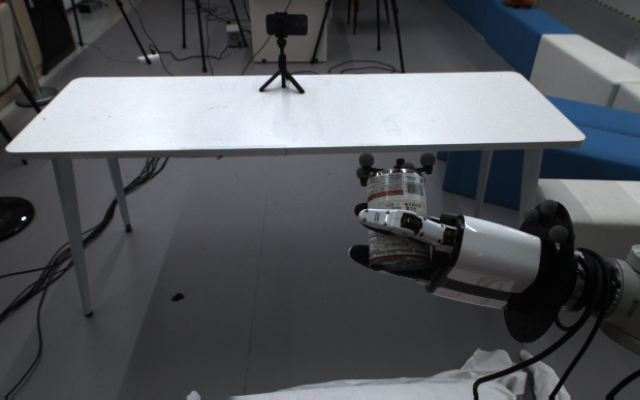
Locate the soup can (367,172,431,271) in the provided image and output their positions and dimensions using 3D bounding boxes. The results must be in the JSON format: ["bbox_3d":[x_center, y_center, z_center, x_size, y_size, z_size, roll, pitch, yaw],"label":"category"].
[{"bbox_3d":[0.089,0.024,0.541,0.067,0.067,0.101,1,73,-2],"label":"soup can"}]
